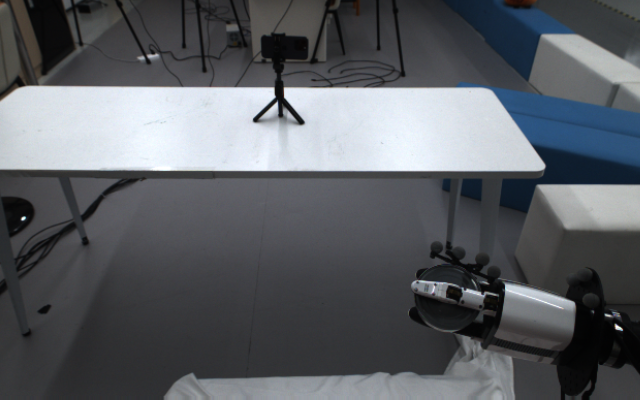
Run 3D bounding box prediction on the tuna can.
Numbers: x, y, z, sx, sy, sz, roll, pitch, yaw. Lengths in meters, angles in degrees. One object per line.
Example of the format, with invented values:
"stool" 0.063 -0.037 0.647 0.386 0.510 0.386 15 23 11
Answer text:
"tuna can" 0.169 0.127 0.636 0.085 0.034 0.085 -4 65 10
